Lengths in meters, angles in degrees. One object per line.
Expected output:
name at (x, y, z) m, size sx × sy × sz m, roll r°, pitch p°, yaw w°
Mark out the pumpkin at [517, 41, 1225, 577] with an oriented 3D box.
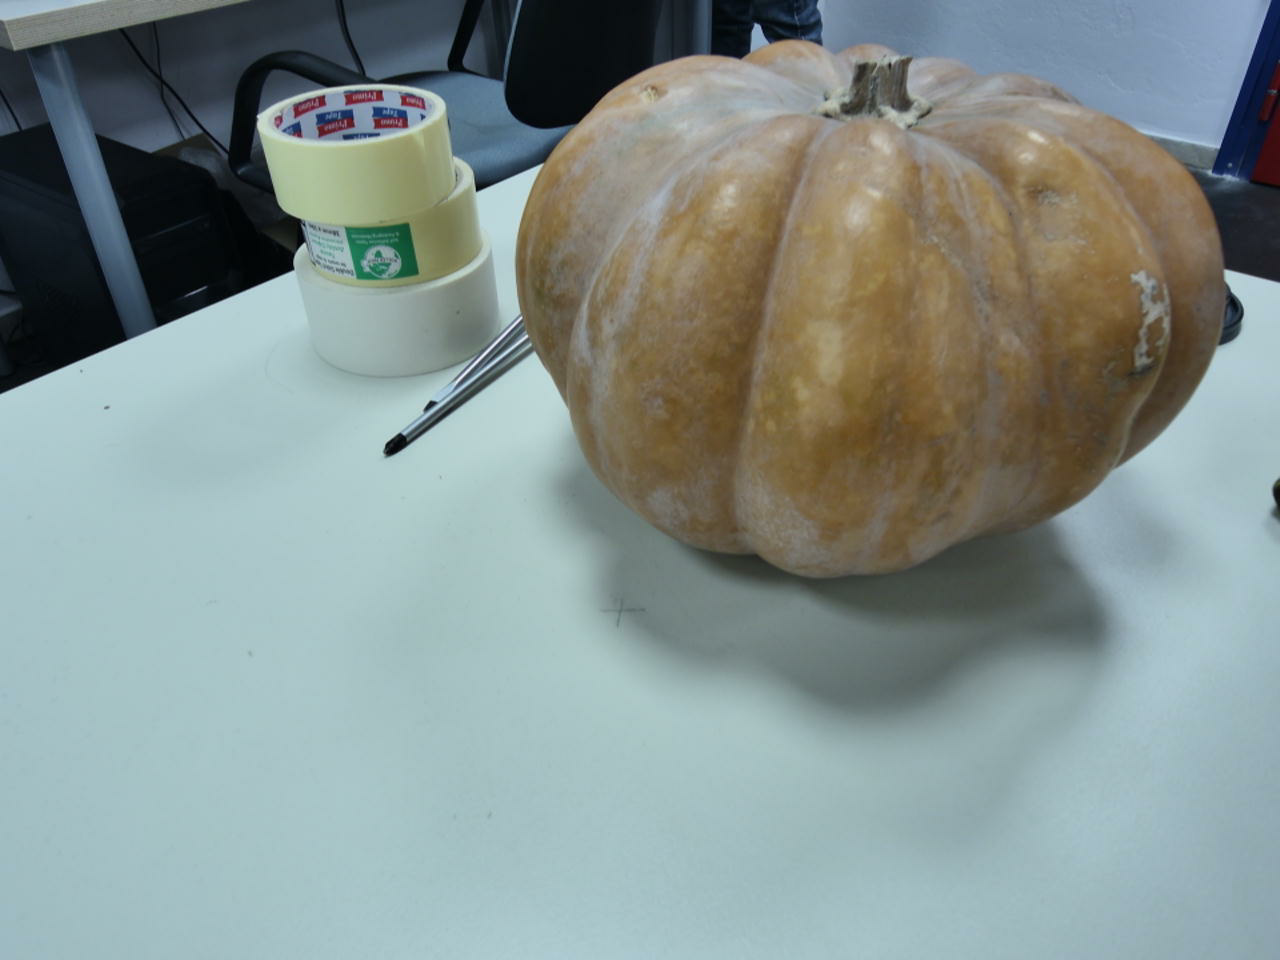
pumpkin at (0.081, -0.078, 0.411) m, size 0.277 × 0.181 × 0.277 m, roll 0°, pitch 37°, yaw 0°
